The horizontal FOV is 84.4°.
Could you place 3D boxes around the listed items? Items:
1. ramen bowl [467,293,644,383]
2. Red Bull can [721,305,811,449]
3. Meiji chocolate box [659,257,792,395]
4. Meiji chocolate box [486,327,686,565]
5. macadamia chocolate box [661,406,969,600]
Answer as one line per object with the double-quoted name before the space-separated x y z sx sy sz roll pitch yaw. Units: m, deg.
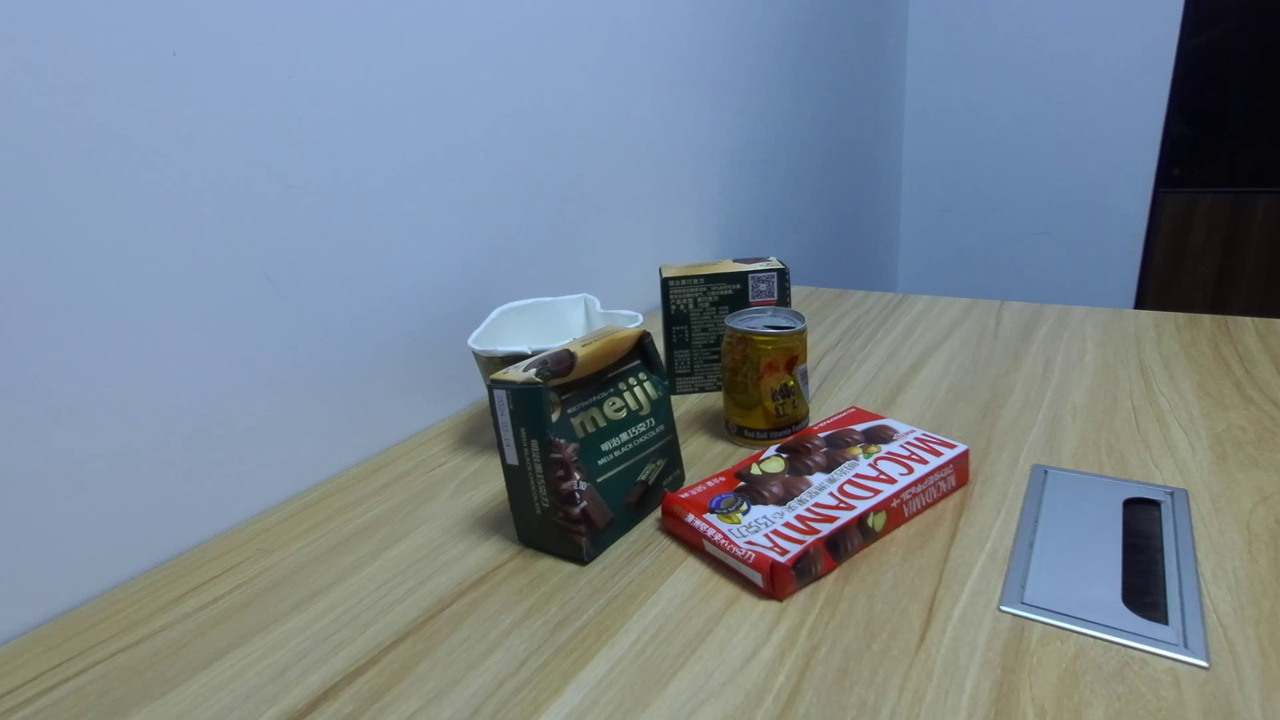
"ramen bowl" -0.069 0.010 0.567 0.134 0.097 0.113 -16 24 -31
"Red Bull can" 0.093 0.012 0.526 0.072 0.092 0.072 -3 21 2
"Meiji chocolate box" 0.076 -0.032 0.631 0.113 0.111 0.058 -5 19 1
"Meiji chocolate box" -0.028 0.045 0.439 0.051 0.117 0.118 1 18 39
"macadamia chocolate box" 0.111 0.079 0.439 0.184 0.028 0.105 -19 24 -32
